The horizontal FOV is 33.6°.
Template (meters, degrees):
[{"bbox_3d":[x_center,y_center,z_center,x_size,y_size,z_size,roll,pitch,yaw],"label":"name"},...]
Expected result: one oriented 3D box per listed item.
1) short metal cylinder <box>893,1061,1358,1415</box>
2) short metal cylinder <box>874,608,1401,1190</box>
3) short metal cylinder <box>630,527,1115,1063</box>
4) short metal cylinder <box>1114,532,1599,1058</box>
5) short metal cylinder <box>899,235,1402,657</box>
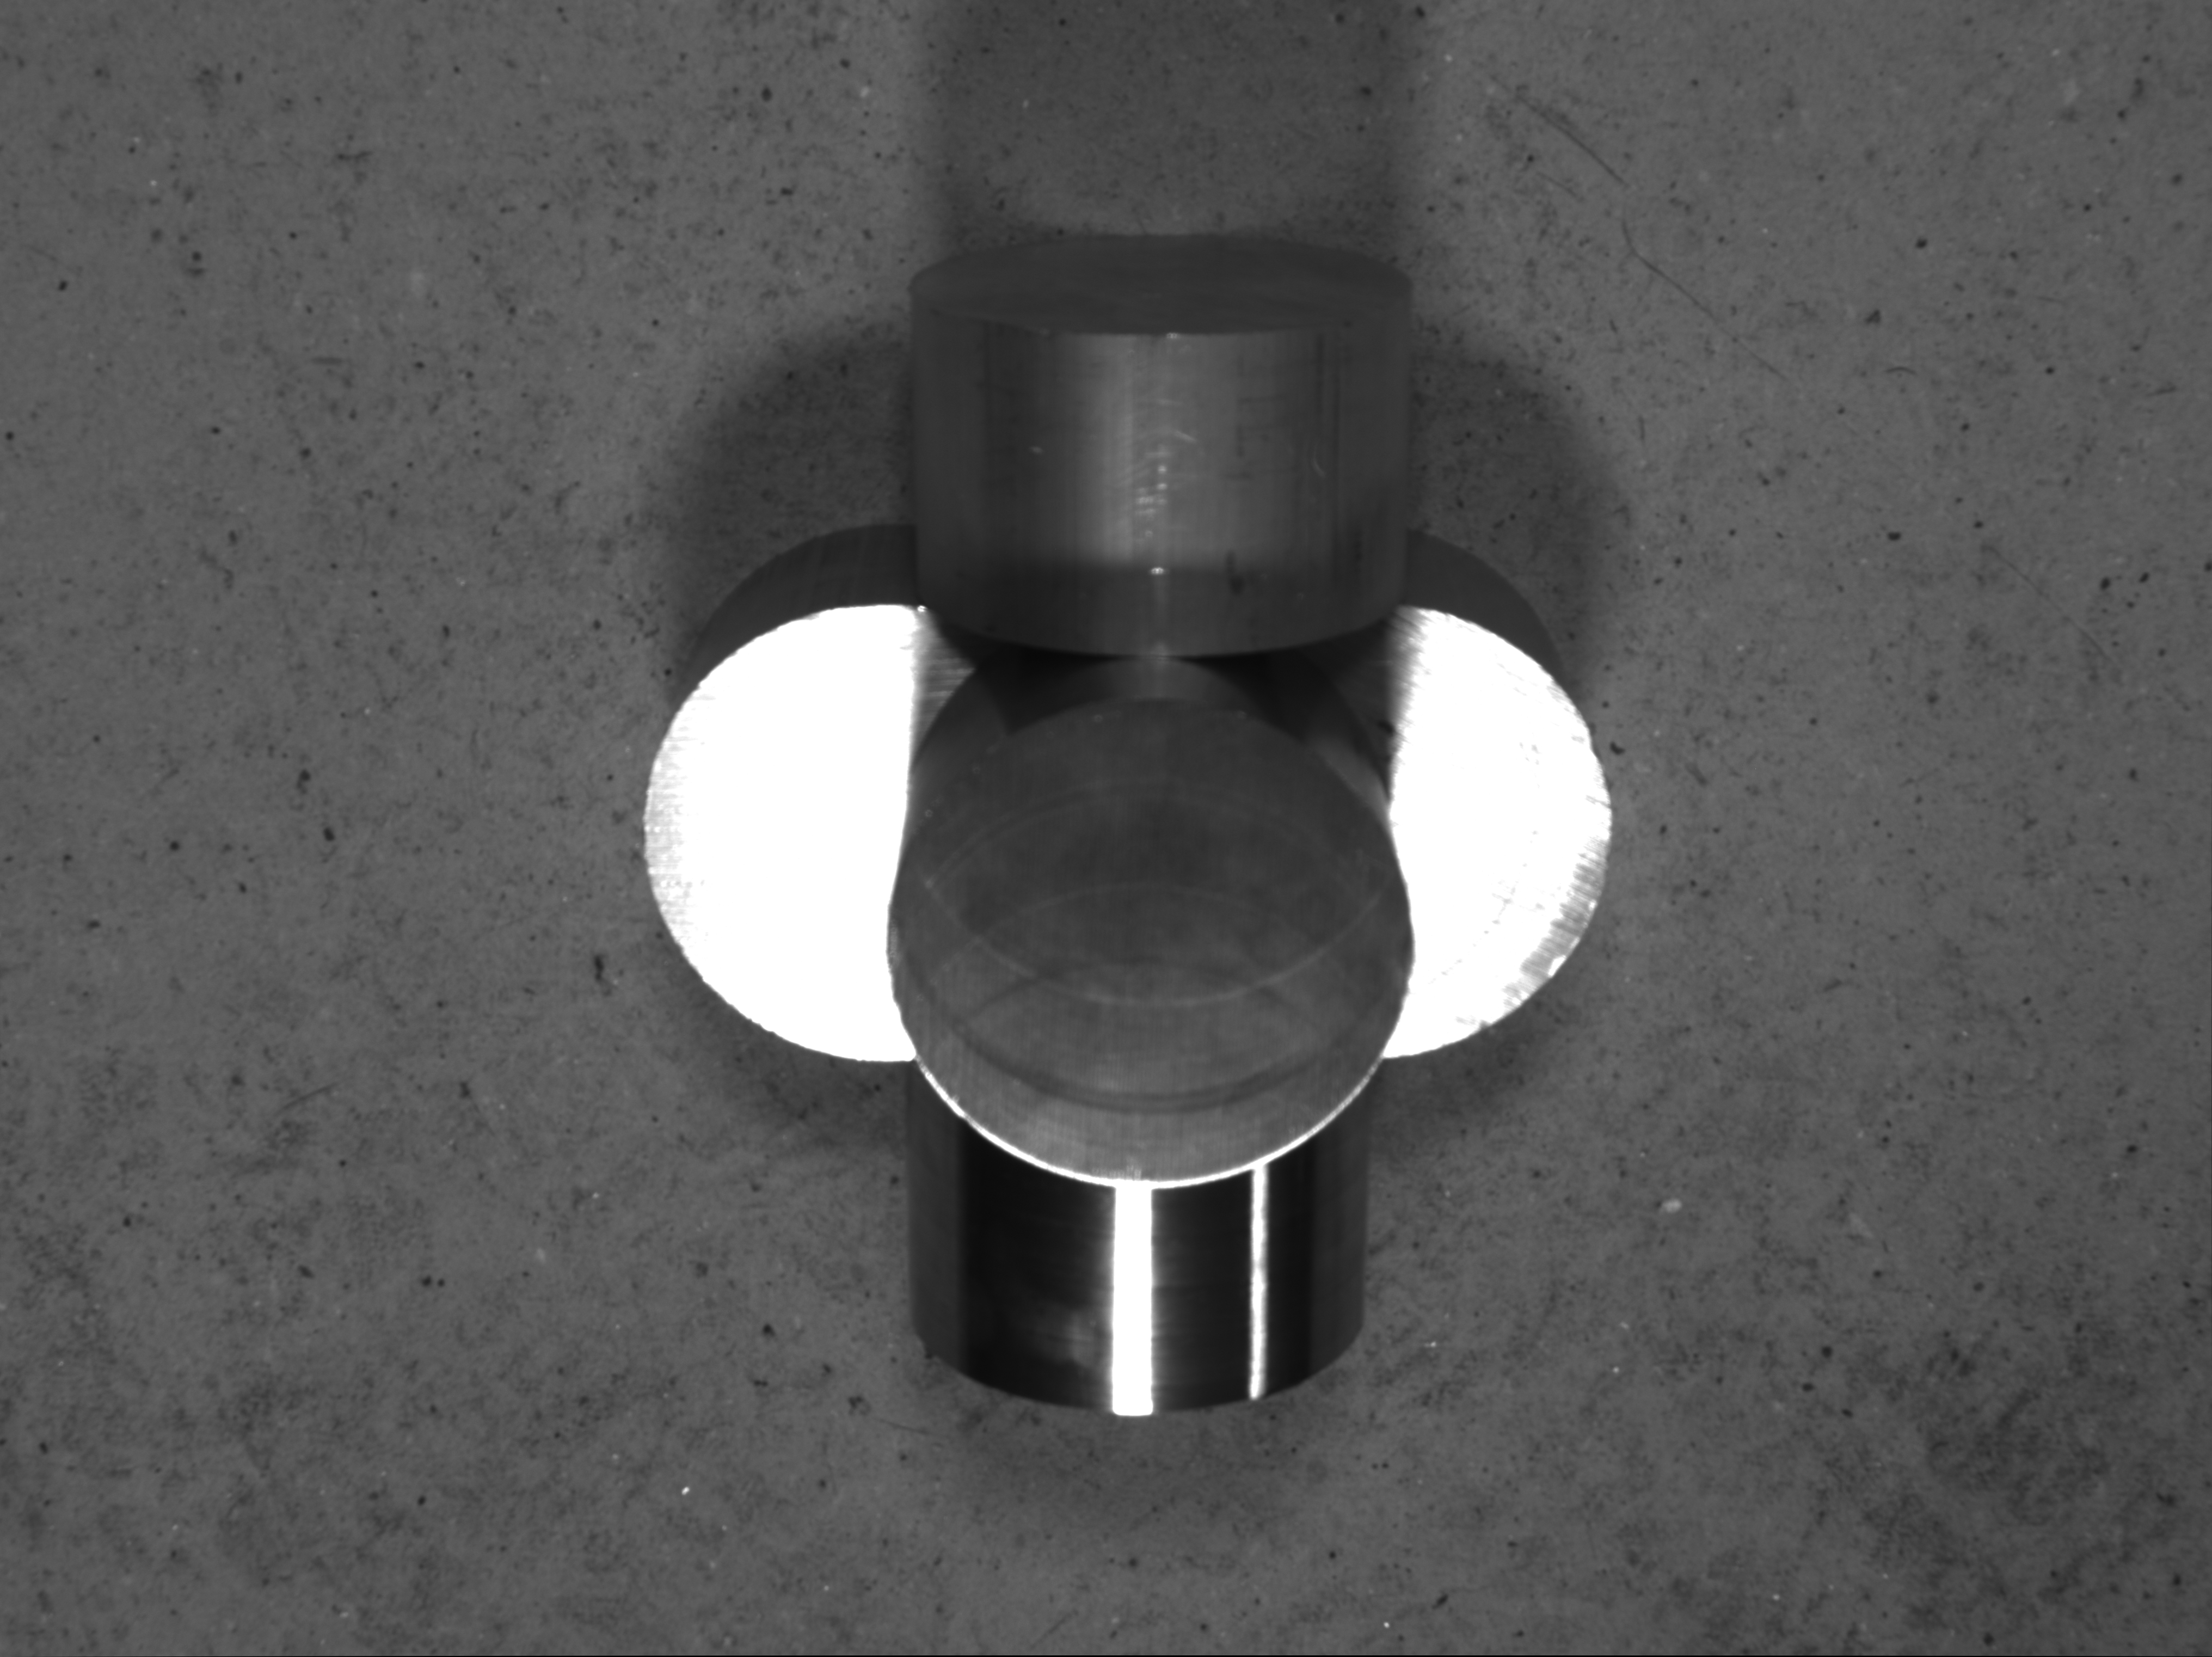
[{"bbox_3d":[0.003,0.060,0.636,0.080,0.080,0.050,0,110,-1],"label":"short metal cylinder"},{"bbox_3d":[0.005,0.010,0.580,0.080,0.050,0.080,0,110,-1],"label":"short metal cylinder"},{"bbox_3d":[-0.038,-0.007,0.627,0.080,0.050,0.080,0,110,-1],"label":"short metal cylinder"},{"bbox_3d":[0.041,-0.007,0.628,0.080,0.050,0.080,0,110,-1],"label":"short metal cylinder"},{"bbox_3d":[0.007,-0.064,0.591,0.080,0.080,0.050,0,110,0],"label":"short metal cylinder"}]
